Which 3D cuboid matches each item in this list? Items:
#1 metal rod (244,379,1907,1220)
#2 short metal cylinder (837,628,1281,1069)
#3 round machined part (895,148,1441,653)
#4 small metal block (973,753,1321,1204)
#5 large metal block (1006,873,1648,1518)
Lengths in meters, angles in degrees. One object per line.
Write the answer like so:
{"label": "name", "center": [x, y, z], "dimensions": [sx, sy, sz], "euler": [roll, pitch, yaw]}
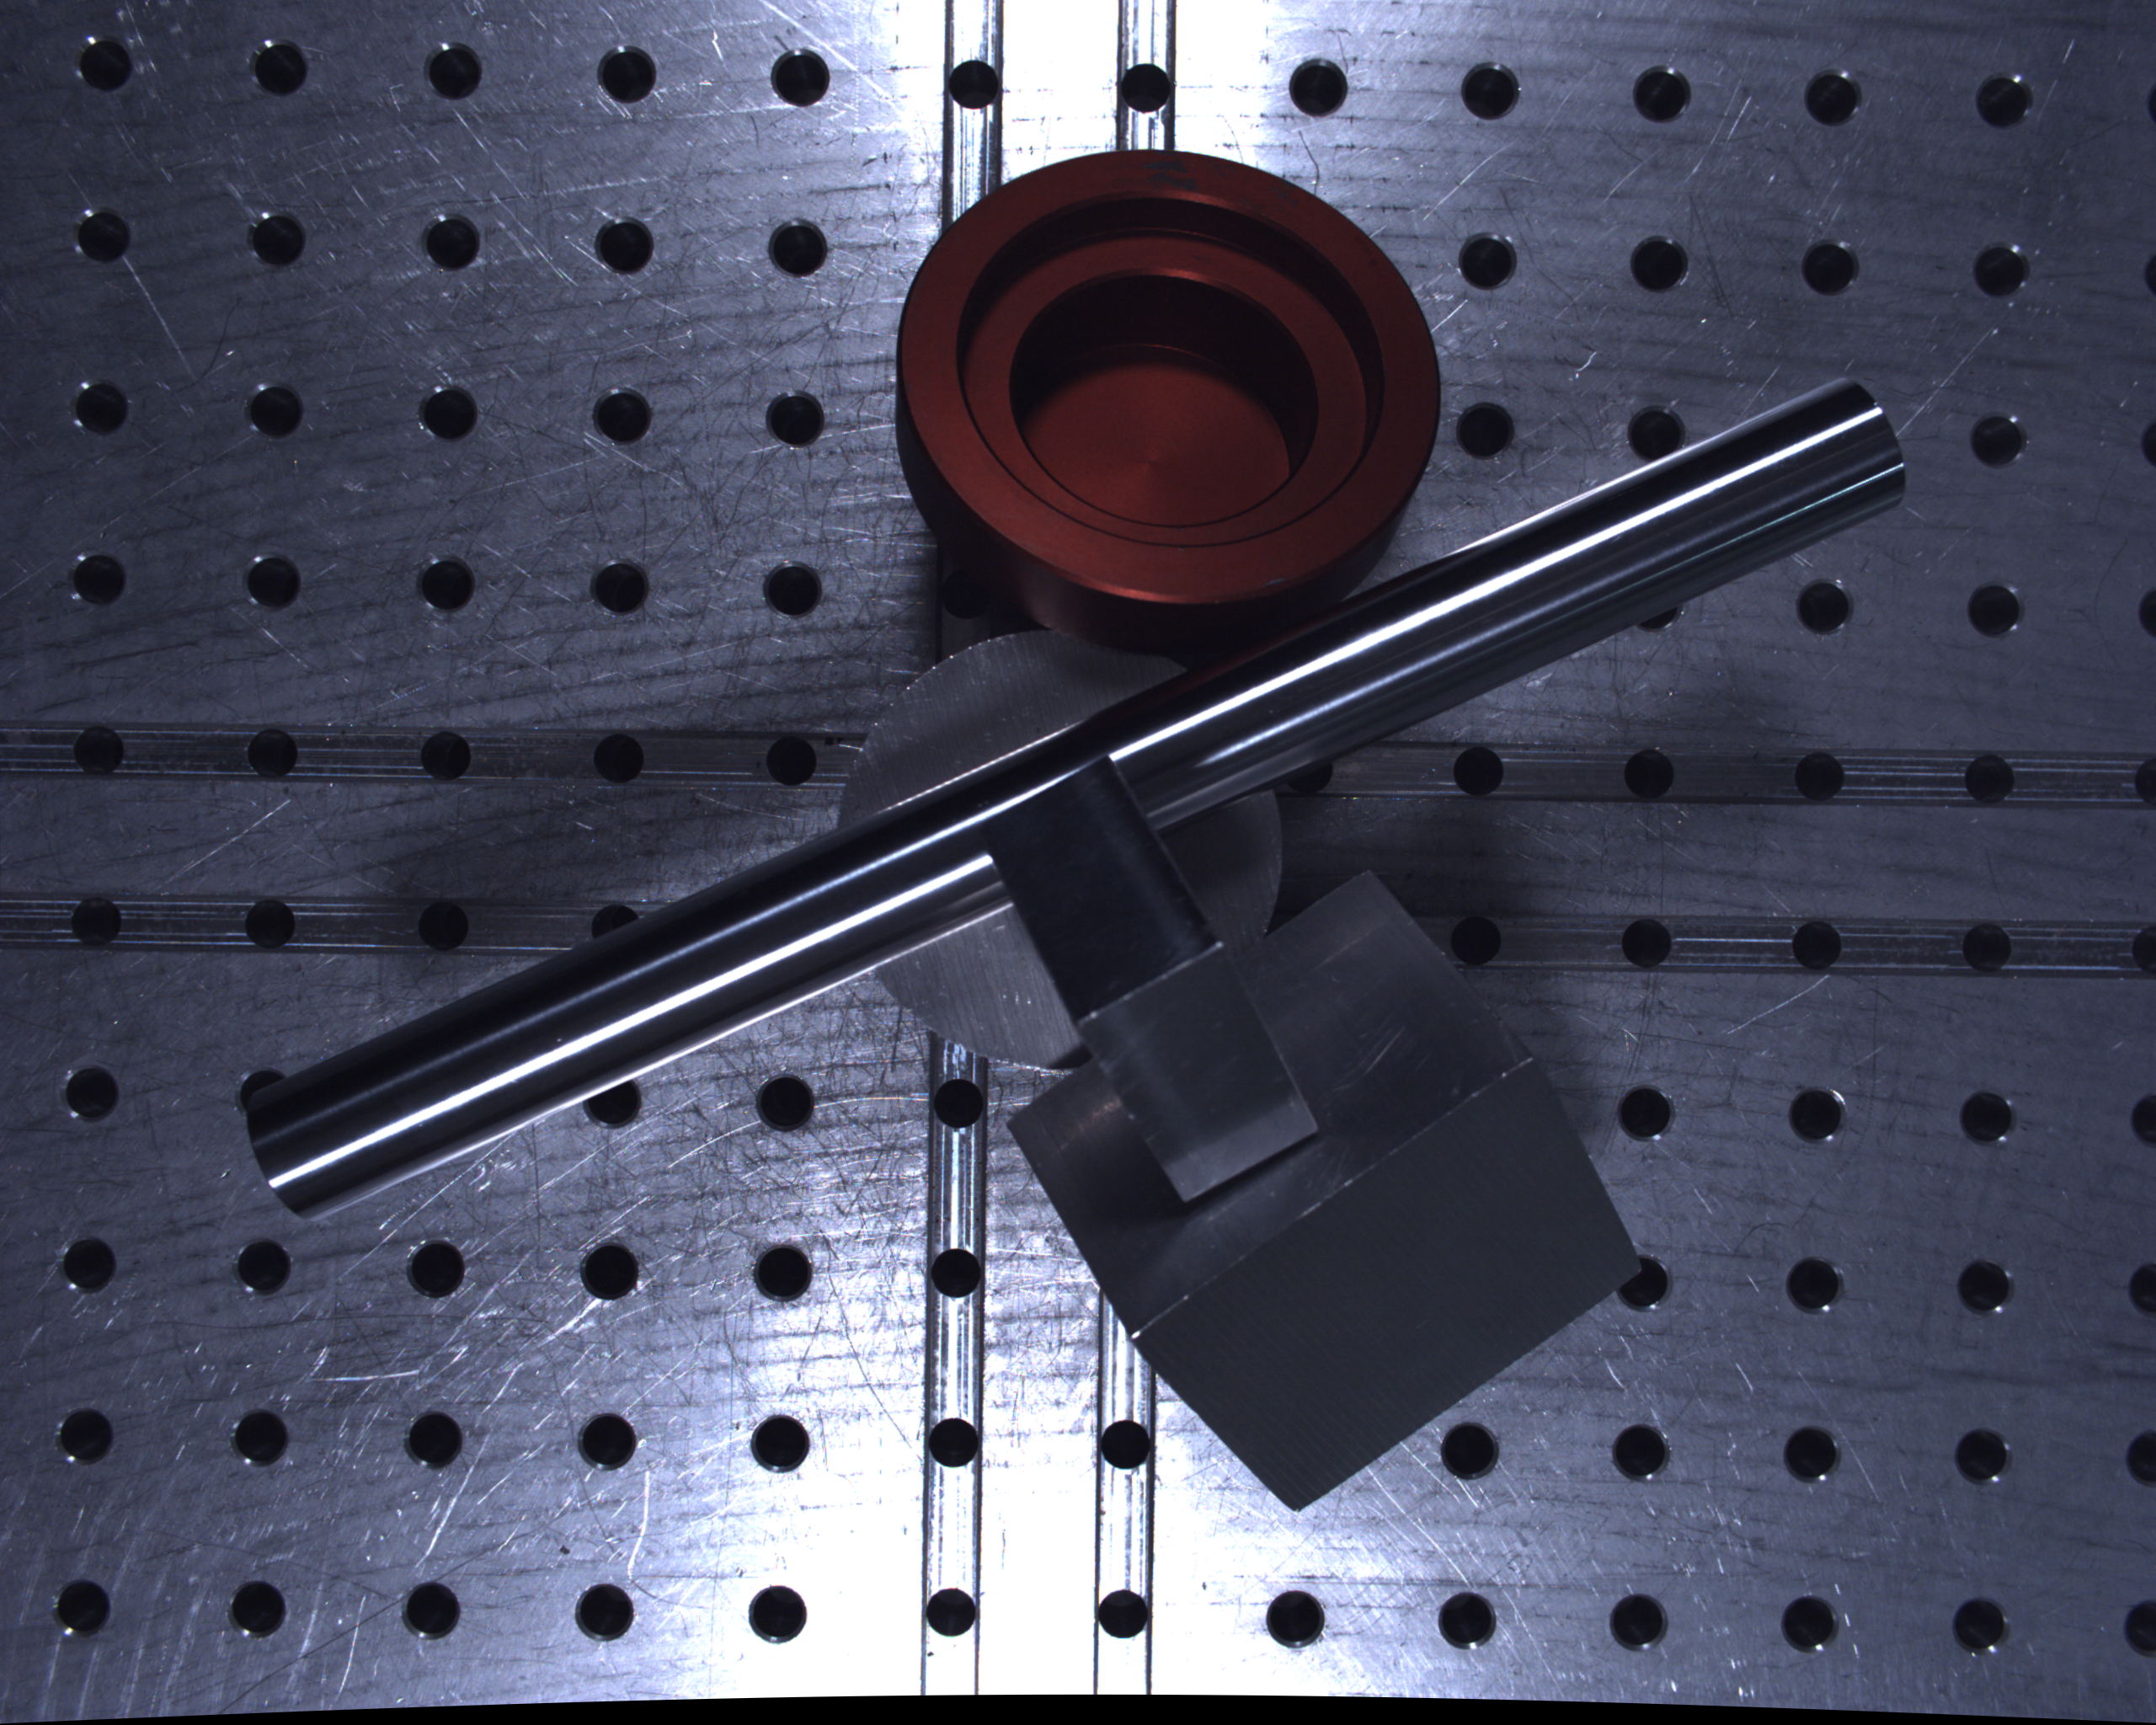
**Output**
{"label": "metal rod", "center": [0.000, -0.011, 0.363], "dimensions": [0.301, 0.025, 0.025], "euler": [-24, 90, -1]}
{"label": "short metal cylinder", "center": [-0.004, -0.003, 0.400], "dimensions": [0.081, 0.050, 0.079], "euler": [0, 90, -1]}
{"label": "round machined part", "center": [0.015, -0.082, 0.393], "dimensions": [0.099, 0.042, 0.098], "euler": [2, 67, -6]}
{"label": "small metal block", "center": [0.011, 0.019, 0.340], "dimensions": [0.025, 0.050, 0.050], "euler": [-29, 132, 0]}
{"label": "large metal block", "center": [0.047, 0.062, 0.379], "dimensions": [0.080, 0.050, 0.080], "euler": [-35, 135, 0]}
